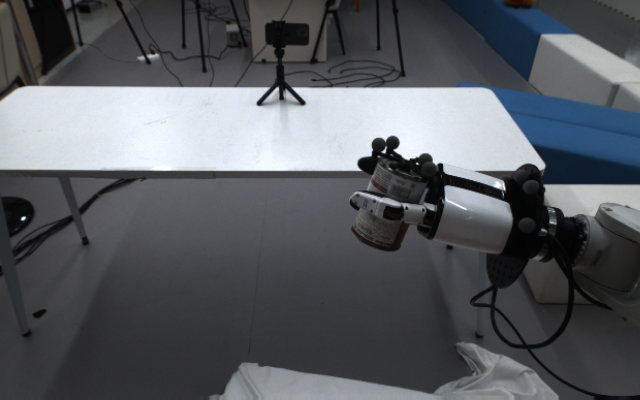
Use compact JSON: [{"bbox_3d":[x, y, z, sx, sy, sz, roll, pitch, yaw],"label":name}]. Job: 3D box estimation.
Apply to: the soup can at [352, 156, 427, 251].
[{"bbox_3d":[0.089,0.004,0.609,0.067,0.101,0.067,17,21,-7],"label":"soup can"}]
